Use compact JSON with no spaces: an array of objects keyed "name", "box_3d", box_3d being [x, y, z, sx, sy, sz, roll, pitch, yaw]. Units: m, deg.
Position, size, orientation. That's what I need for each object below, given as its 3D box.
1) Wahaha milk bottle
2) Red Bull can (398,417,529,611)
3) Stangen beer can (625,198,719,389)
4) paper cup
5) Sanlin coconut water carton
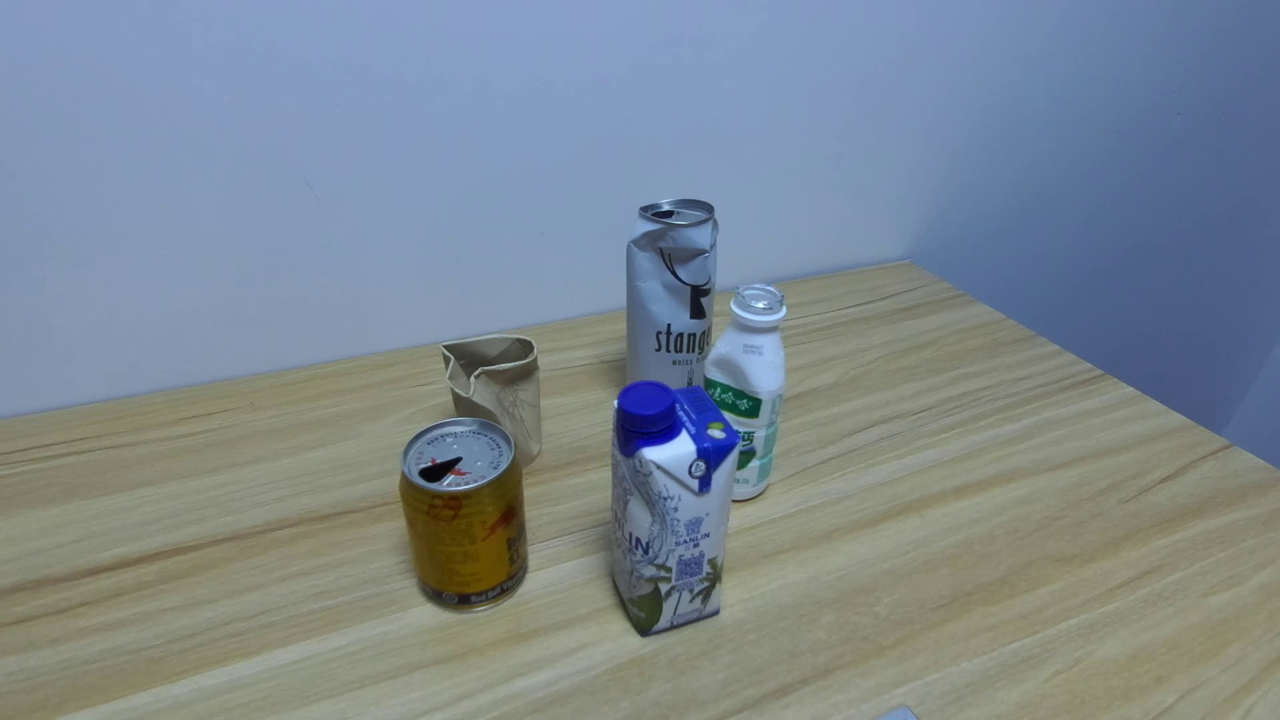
[{"name":"Wahaha milk bottle","box_3d":[0.071,0.022,0.461,0.055,0.149,0.055,2,33,-1]},{"name":"Red Bull can","box_3d":[-0.099,0.088,0.403,0.067,0.093,0.067,2,32,-1]},{"name":"Stangen beer can","box_3d":[0.024,-0.036,0.532,0.066,0.166,0.066,6,34,7]},{"name":"paper cup","box_3d":[-0.099,0.033,0.497,0.066,0.083,0.058,-9,36,-14]},{"name":"Sanlin coconut water carton","box_3d":[0.016,0.076,0.380,0.061,0.144,0.060,-10,33,-19]}]
